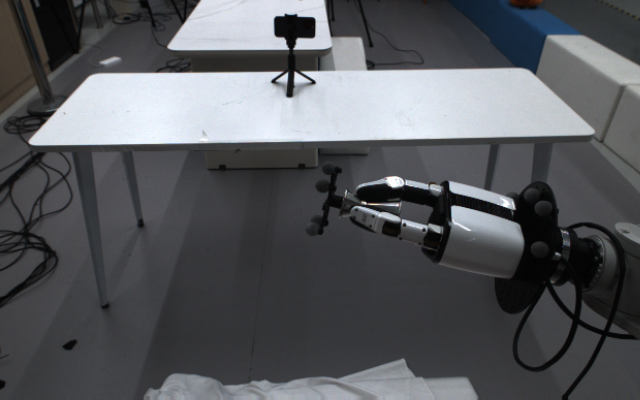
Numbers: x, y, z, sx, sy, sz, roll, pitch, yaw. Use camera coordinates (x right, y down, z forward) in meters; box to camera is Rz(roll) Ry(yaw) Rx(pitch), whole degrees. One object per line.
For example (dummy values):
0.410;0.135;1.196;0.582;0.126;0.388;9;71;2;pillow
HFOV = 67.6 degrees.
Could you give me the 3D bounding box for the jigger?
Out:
0.067;0.010;0.584;0.071;0.043;0.043;14;36;4;jigger
